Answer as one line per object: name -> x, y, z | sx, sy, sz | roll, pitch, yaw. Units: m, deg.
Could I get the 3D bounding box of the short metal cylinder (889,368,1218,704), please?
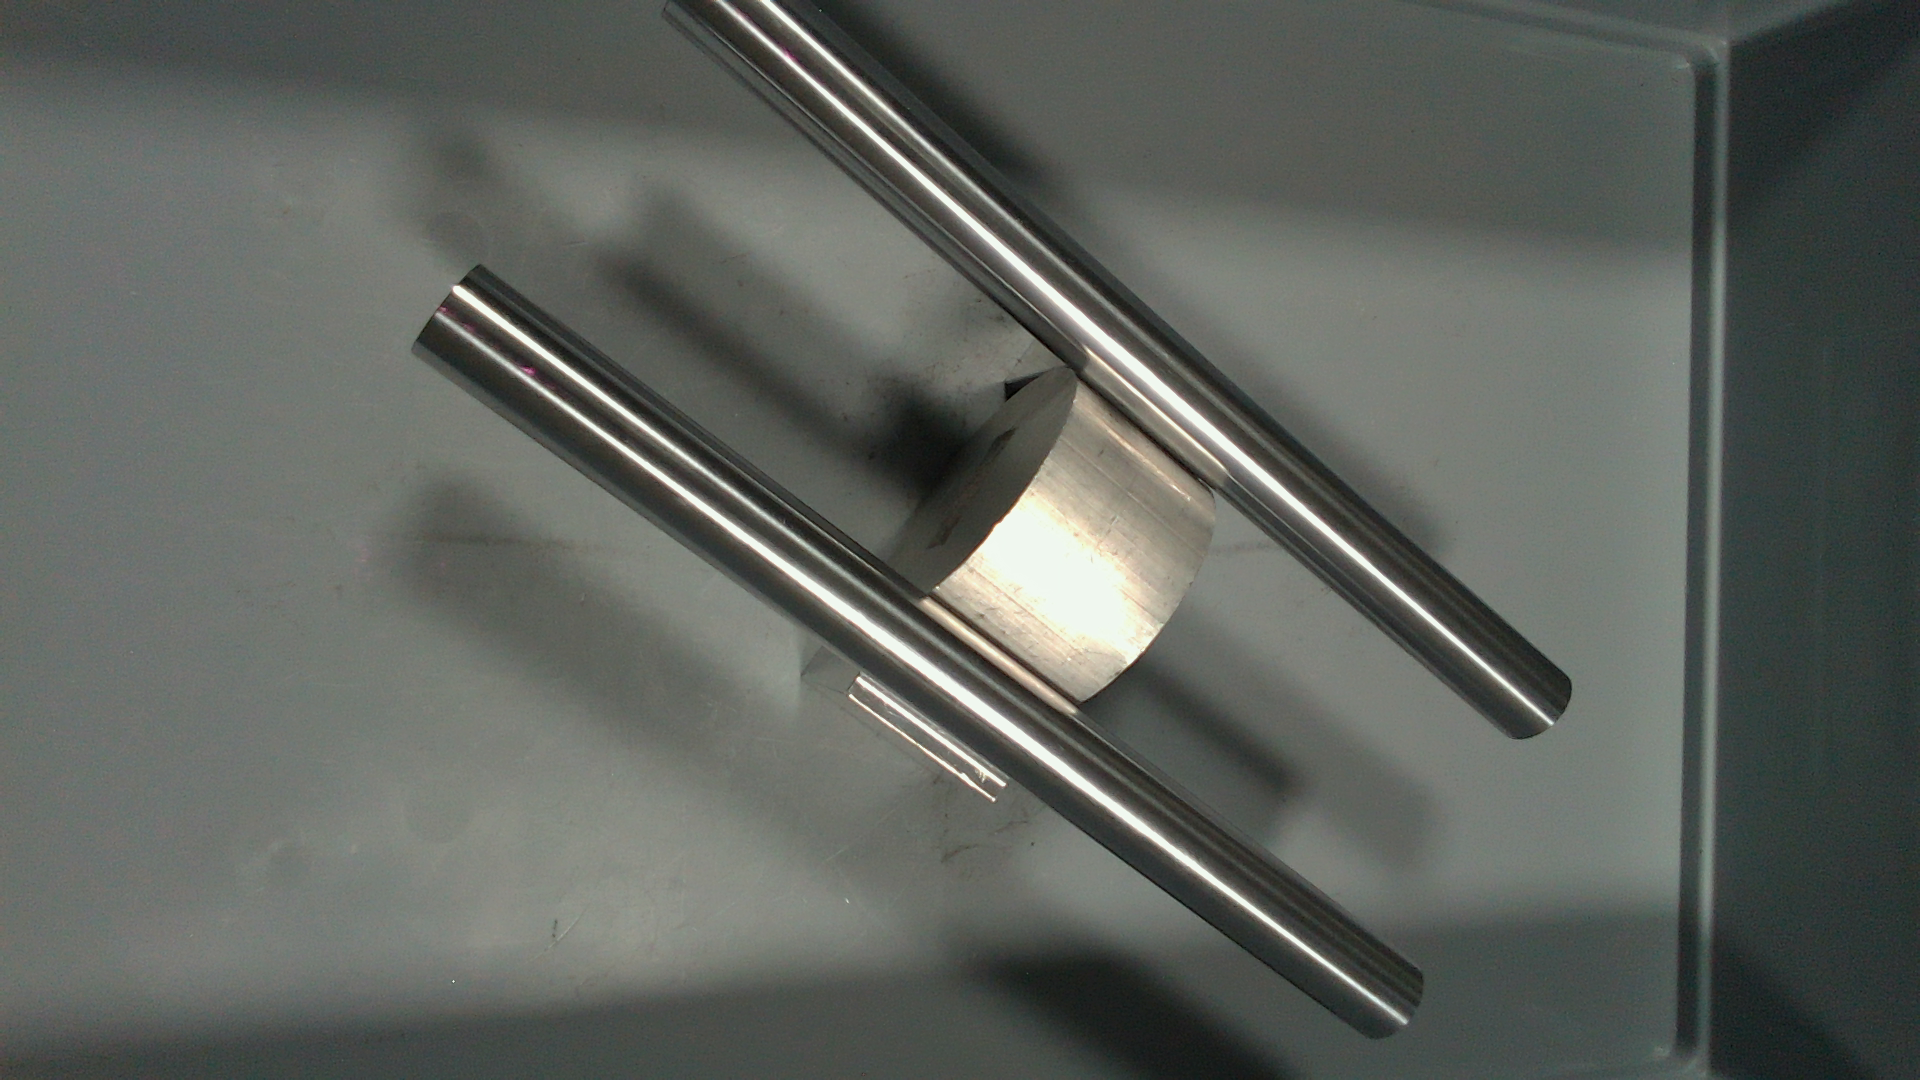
short metal cylinder -> 0.023, 0.000, 0.371 | 0.050, 0.080, 0.080 | 38, 78, -16

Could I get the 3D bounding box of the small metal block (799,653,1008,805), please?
small metal block -> -0.011, 0.044, 0.375 | 0.050, 0.050, 0.025 | 38, 78, -16

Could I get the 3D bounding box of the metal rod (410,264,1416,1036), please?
metal rod -> 0.002, 0.038, 0.341 | 0.301, 0.025, 0.025 | 38, 78, -16

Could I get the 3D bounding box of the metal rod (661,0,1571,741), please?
metal rod -> 0.053, -0.041, 0.359 | 0.301, 0.025, 0.025 | 38, 78, -16

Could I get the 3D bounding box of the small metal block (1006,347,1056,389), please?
small metal block -> 0.048, -0.042, 0.396 | 0.050, 0.050, 0.025 | 38, 78, -16
